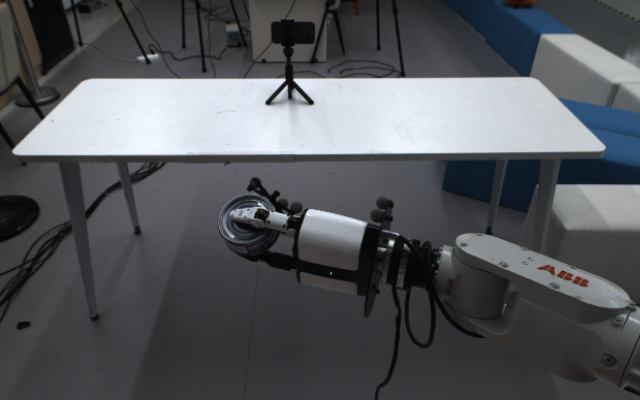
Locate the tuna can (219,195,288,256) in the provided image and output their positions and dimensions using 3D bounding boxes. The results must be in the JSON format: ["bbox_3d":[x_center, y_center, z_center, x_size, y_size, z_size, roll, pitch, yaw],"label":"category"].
[{"bbox_3d":[-0.097,0.040,0.683,0.085,0.034,0.085,-4,57,6],"label":"tuna can"}]
